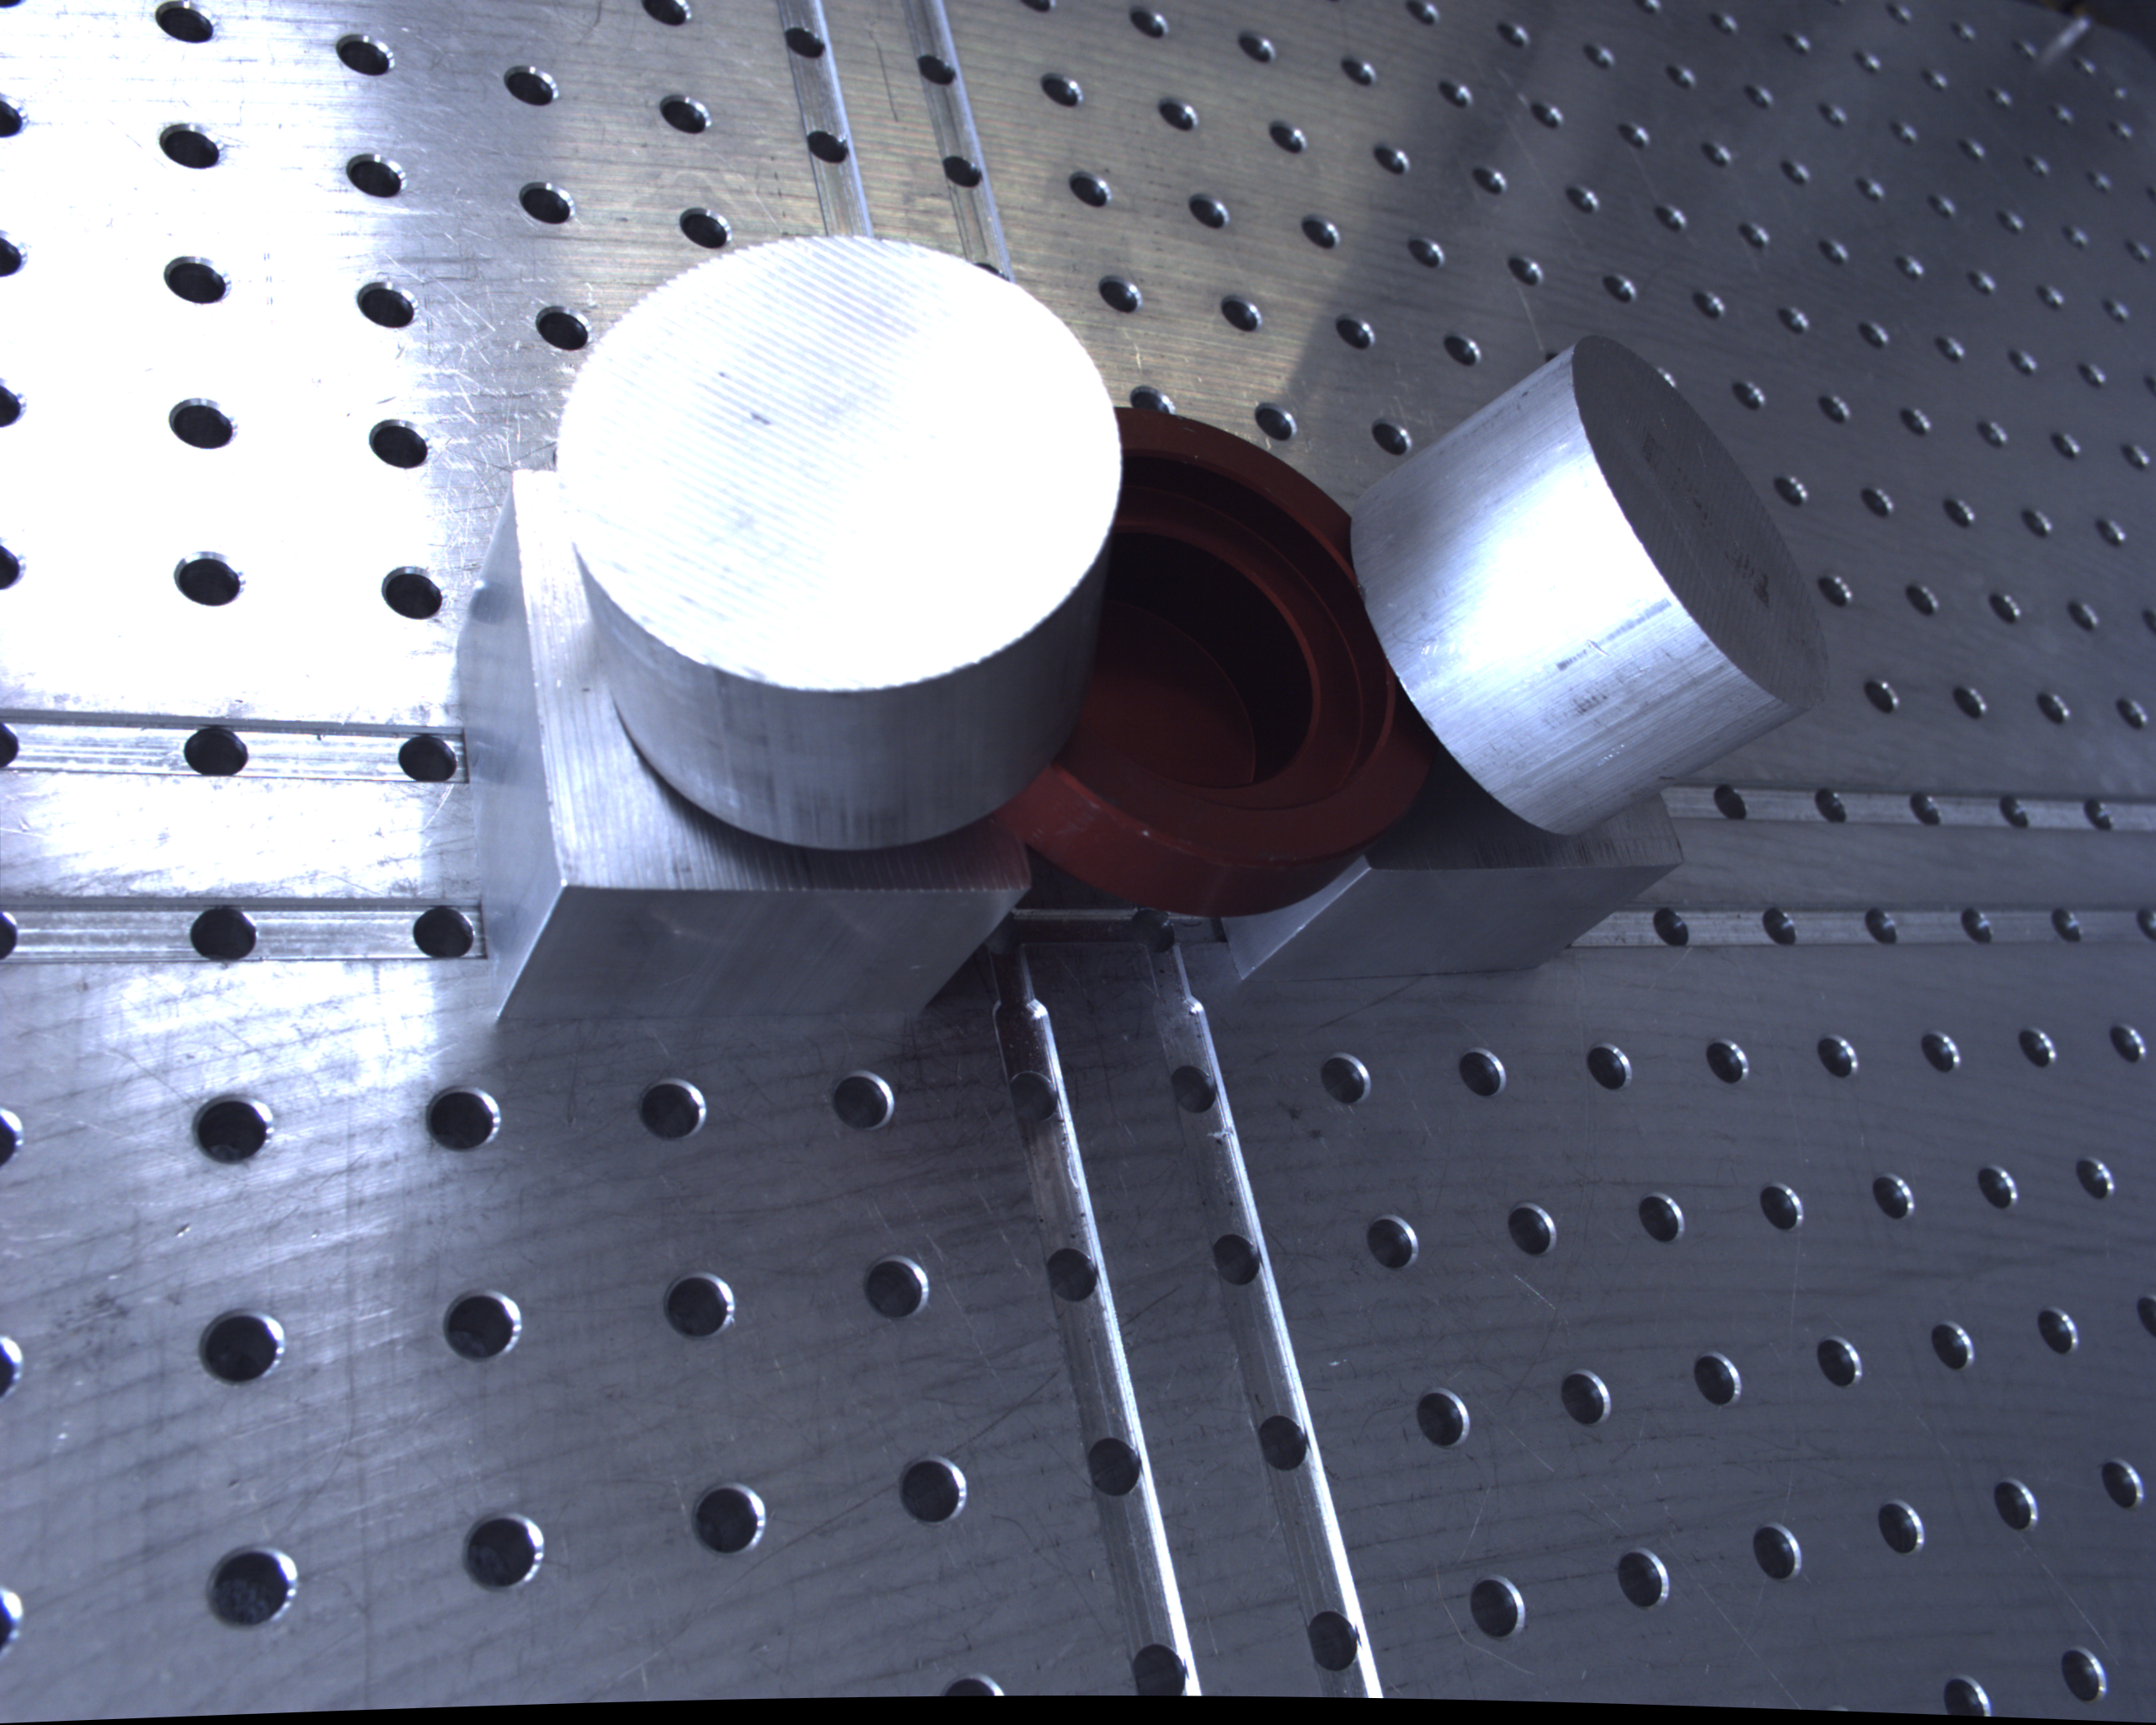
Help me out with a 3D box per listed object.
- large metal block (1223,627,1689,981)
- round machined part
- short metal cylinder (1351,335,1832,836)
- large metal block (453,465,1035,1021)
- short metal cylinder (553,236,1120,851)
[{"bbox_3d":[0.070,-0.023,0.443,0.081,0.050,0.080,-1,62,-29],"label":"large metal block"},{"bbox_3d":[0.014,-0.033,0.387,0.099,0.042,0.098,14,56,-21],"label":"round machined part"},{"bbox_3d":[0.097,-0.052,0.395,0.080,0.050,0.080,31,42,-33],"label":"short metal cylinder"},{"bbox_3d":[-0.062,-0.019,0.370,0.081,0.050,0.080,1,62,-28],"label":"large metal block"},{"bbox_3d":[-0.036,-0.048,0.321,0.081,0.050,0.080,2,65,-4],"label":"short metal cylinder"}]
